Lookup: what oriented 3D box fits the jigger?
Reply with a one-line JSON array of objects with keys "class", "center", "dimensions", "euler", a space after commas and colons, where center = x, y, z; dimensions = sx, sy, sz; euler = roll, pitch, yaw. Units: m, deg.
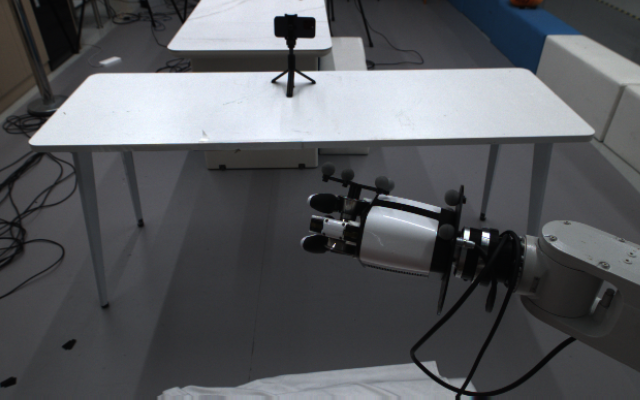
[{"class": "jigger", "center": [0.037, 0.031, 0.615], "dimensions": [0.043, 0.071, 0.043], "euler": [14, 1, 0]}]
